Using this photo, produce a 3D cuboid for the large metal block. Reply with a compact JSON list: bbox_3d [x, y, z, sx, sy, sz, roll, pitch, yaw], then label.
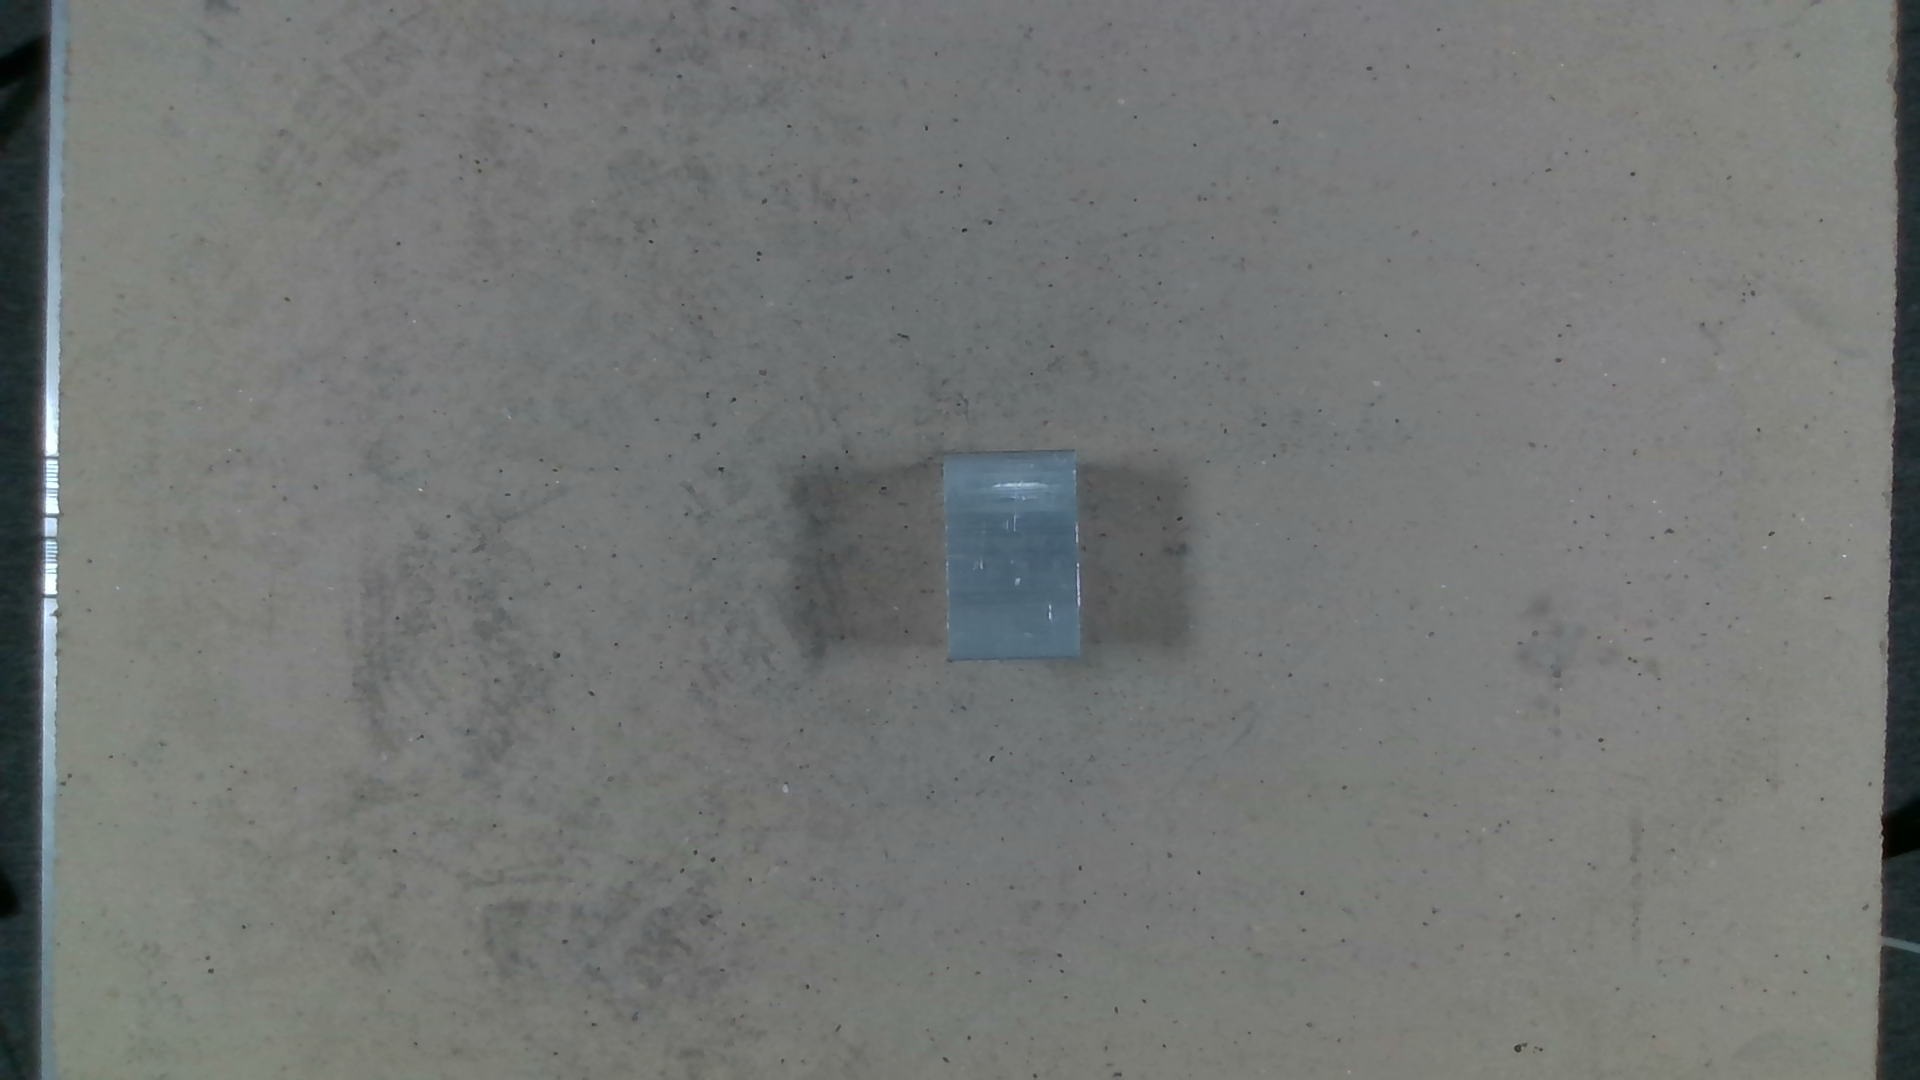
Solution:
[{"bbox_3d":[0.020,0.006,0.560,0.050,0.080,0.080,-1,90,0],"label":"large metal block"}]
